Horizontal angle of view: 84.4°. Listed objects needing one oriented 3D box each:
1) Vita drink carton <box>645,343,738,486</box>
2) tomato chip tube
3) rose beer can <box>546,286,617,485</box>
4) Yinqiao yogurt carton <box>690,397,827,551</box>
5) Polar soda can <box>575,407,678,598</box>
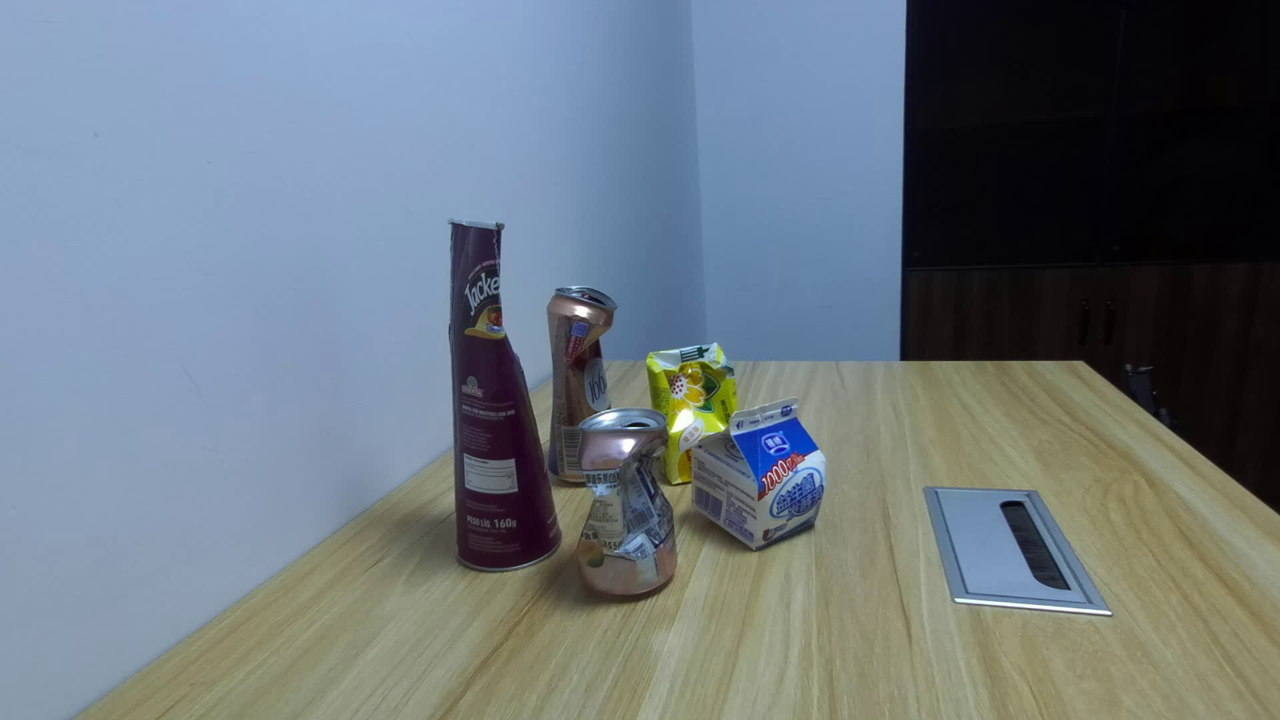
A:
[{"bbox_3d":[0.047,0.046,0.606,0.071,0.109,0.046,-8,16,-13],"label":"Vita drink carton"},{"bbox_3d":[-0.101,0.023,0.485,0.078,0.235,0.090,1,13,16],"label":"tomato chip tube"},{"bbox_3d":[-0.051,0.022,0.616,0.070,0.168,0.069,-10,18,-35],"label":"rose beer can"},{"bbox_3d":[0.088,0.074,0.507,0.075,0.097,0.080,-14,25,-34],"label":"Yinqiao yogurt carton"},{"bbox_3d":[-0.009,0.088,0.450,0.070,0.114,0.074,-4,17,-25],"label":"Polar soda can"}]
